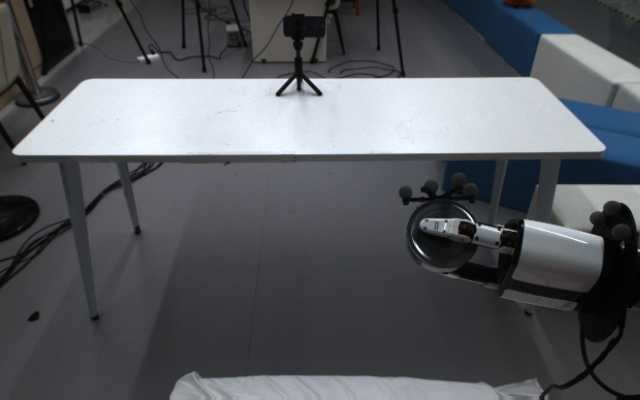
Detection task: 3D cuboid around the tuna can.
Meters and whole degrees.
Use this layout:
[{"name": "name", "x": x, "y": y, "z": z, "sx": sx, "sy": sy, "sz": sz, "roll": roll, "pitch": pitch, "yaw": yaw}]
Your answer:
[{"name": "tuna can", "x": 0.148, "y": 0.041, "z": 0.584, "sx": 0.085, "sy": 0.034, "sz": 0.085, "roll": -3, "pitch": 66, "yaw": 7}]
